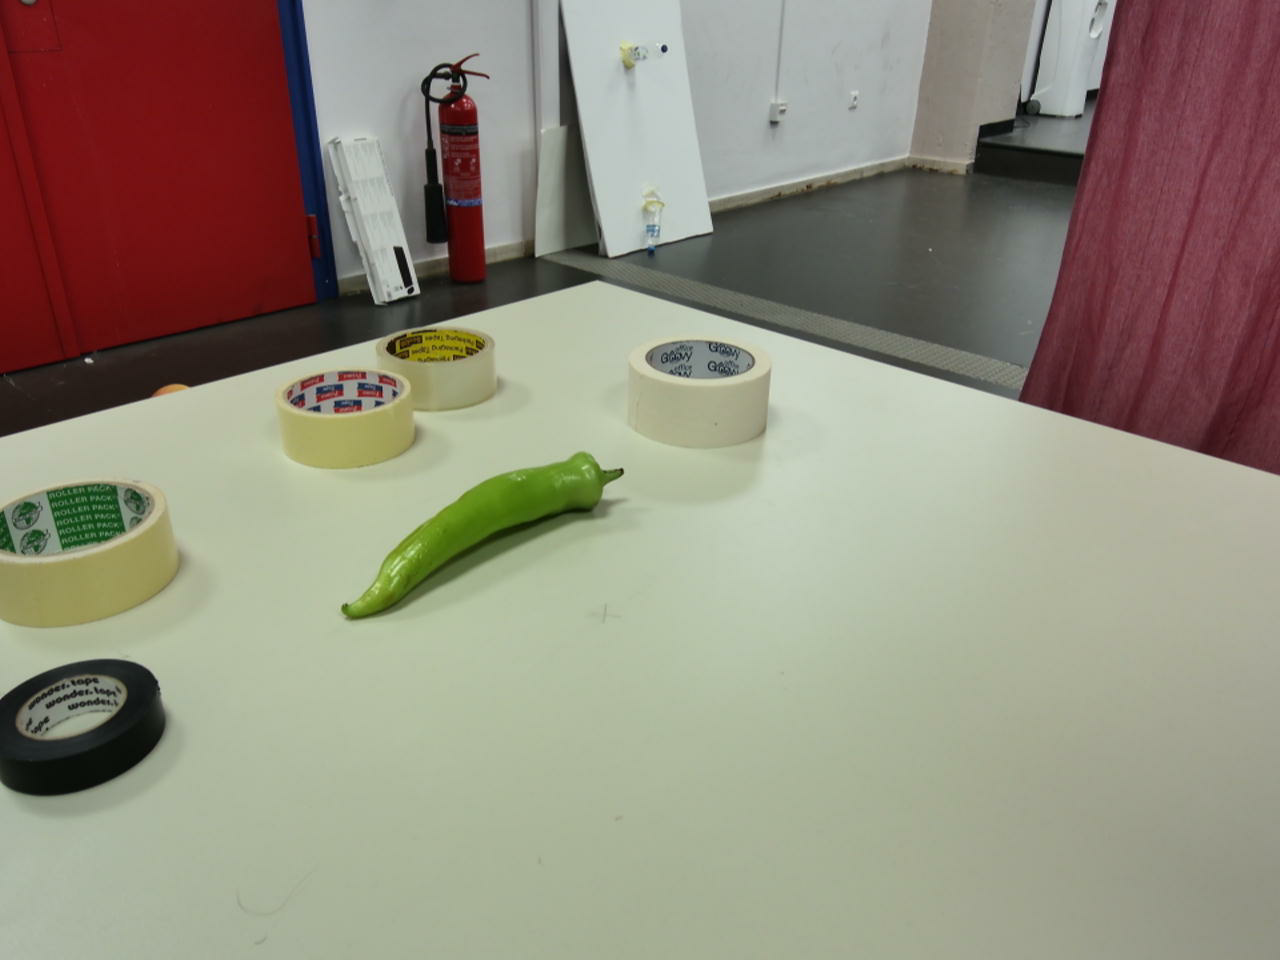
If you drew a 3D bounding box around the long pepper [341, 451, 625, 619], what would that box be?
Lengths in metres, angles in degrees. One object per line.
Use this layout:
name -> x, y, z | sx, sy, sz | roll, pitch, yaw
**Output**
long pepper -> -0.090, 0.022, 0.572 | 0.047, 0.038, 0.197 | 23, 33, 39
